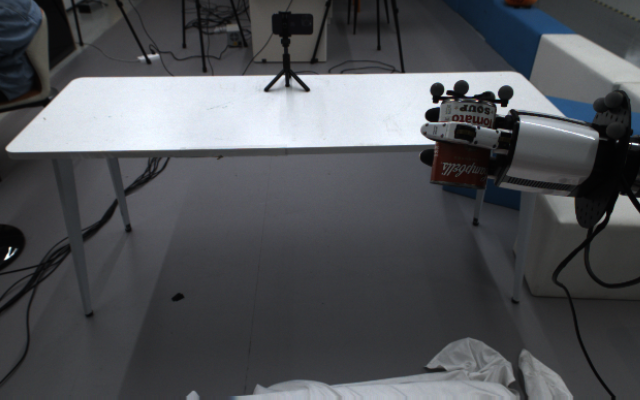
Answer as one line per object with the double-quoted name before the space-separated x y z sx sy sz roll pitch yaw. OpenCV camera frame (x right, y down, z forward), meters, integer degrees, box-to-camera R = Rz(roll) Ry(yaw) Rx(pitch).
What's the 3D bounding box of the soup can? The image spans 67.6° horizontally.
"soup can" 0.176 -0.066 0.591 0.067 0.101 0.067 7 3 0
